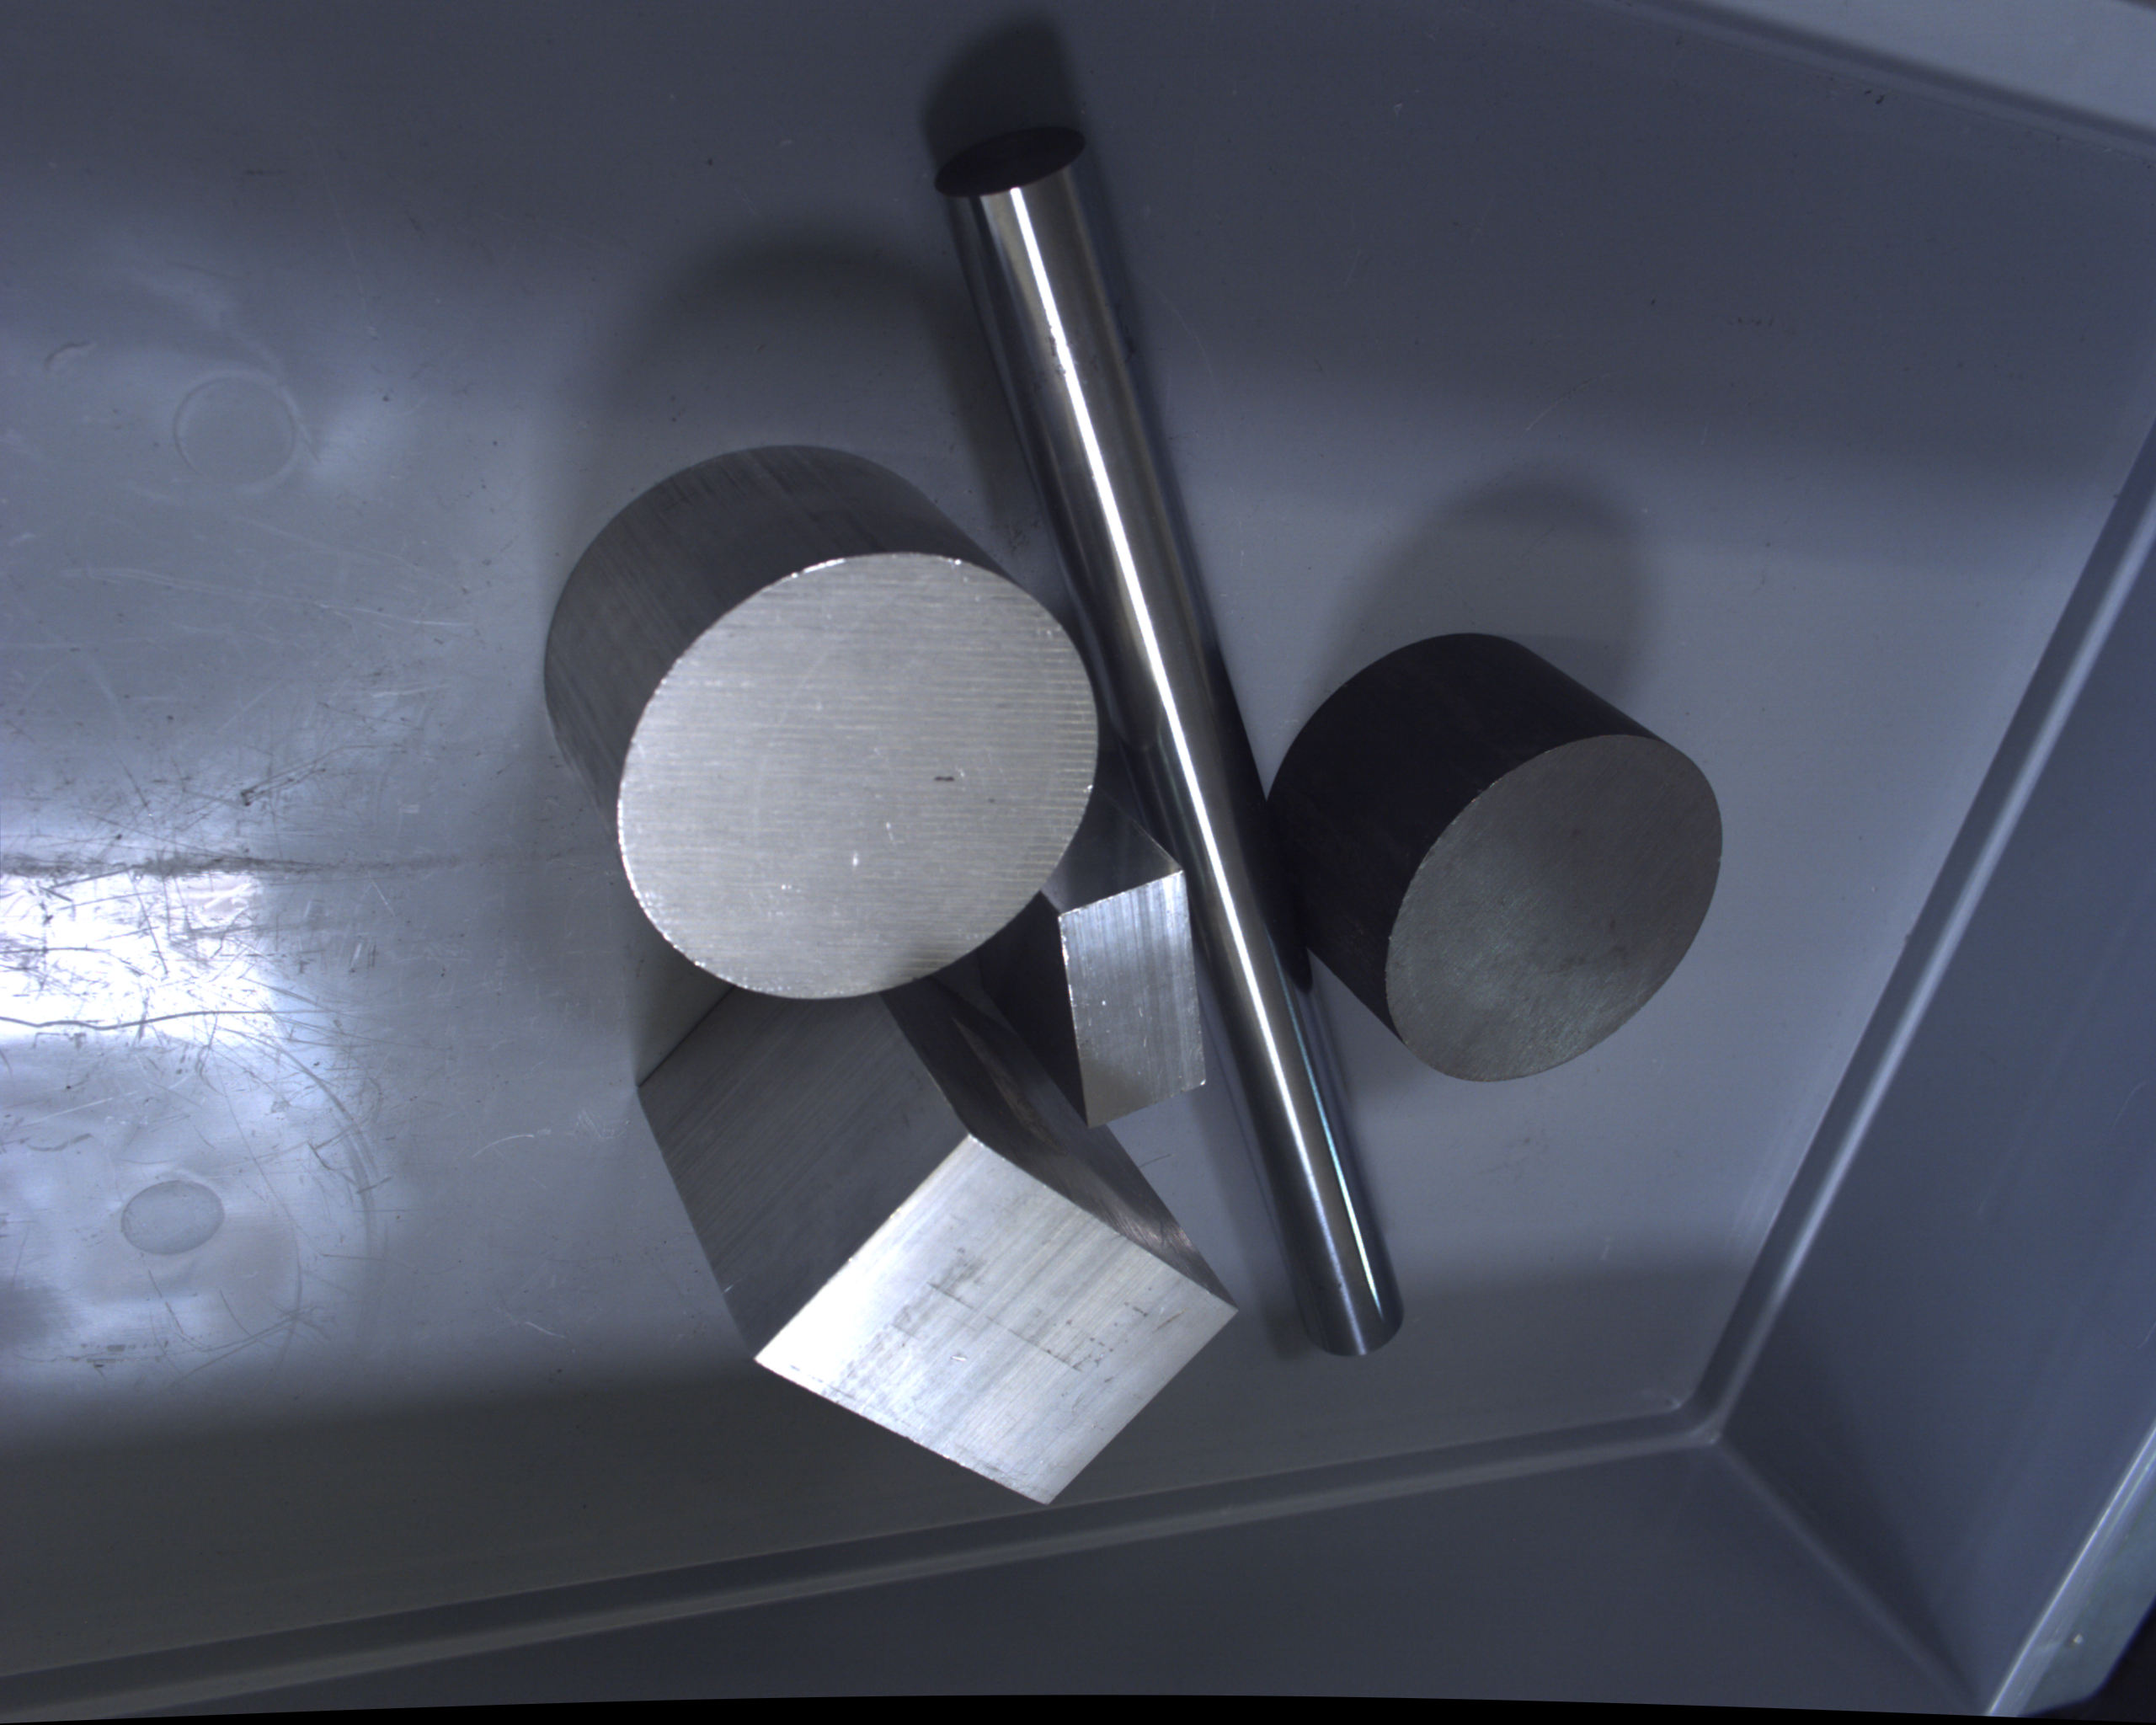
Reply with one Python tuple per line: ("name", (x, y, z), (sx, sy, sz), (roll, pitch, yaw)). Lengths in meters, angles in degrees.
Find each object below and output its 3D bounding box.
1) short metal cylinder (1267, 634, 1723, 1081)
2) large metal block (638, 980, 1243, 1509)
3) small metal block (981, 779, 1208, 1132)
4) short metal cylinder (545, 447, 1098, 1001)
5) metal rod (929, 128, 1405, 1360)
("short metal cylinder", (0.086, -0.001, 0.436), (0.081, 0.050, 0.079), (-14, 124, -21))
("large metal block", (-0.027, 0.064, 0.395), (0.050, 0.080, 0.080), (-47, 129, 5))
("small metal block", (0.000, 0.014, 0.399), (0.025, 0.050, 0.050), (-20, 126, -17))
("short metal cylinder", (-0.044, -0.024, 0.352), (0.081, 0.050, 0.079), (-14, 124, -21))
("metal rod", (0.028, 0.000, 0.422), (0.025, 0.025, 0.299), (-28, 128, -11))
